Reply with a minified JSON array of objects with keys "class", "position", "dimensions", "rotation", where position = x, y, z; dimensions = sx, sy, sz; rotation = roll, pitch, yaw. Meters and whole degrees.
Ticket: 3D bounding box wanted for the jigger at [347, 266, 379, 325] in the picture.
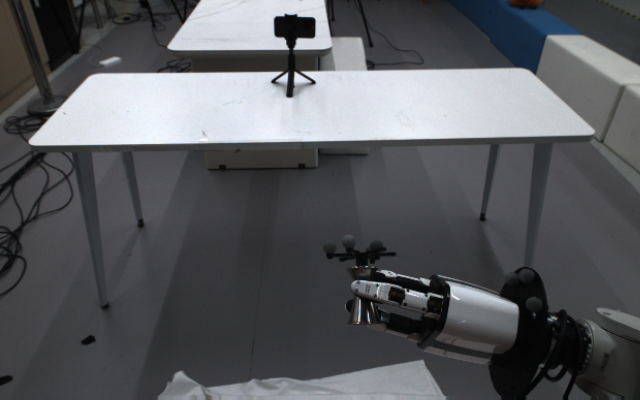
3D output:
[{"class":"jigger","position":[0.055,0.116,0.594],"dimensions":[0.043,0.043,0.071],"rotation":[0,75,-3]}]
